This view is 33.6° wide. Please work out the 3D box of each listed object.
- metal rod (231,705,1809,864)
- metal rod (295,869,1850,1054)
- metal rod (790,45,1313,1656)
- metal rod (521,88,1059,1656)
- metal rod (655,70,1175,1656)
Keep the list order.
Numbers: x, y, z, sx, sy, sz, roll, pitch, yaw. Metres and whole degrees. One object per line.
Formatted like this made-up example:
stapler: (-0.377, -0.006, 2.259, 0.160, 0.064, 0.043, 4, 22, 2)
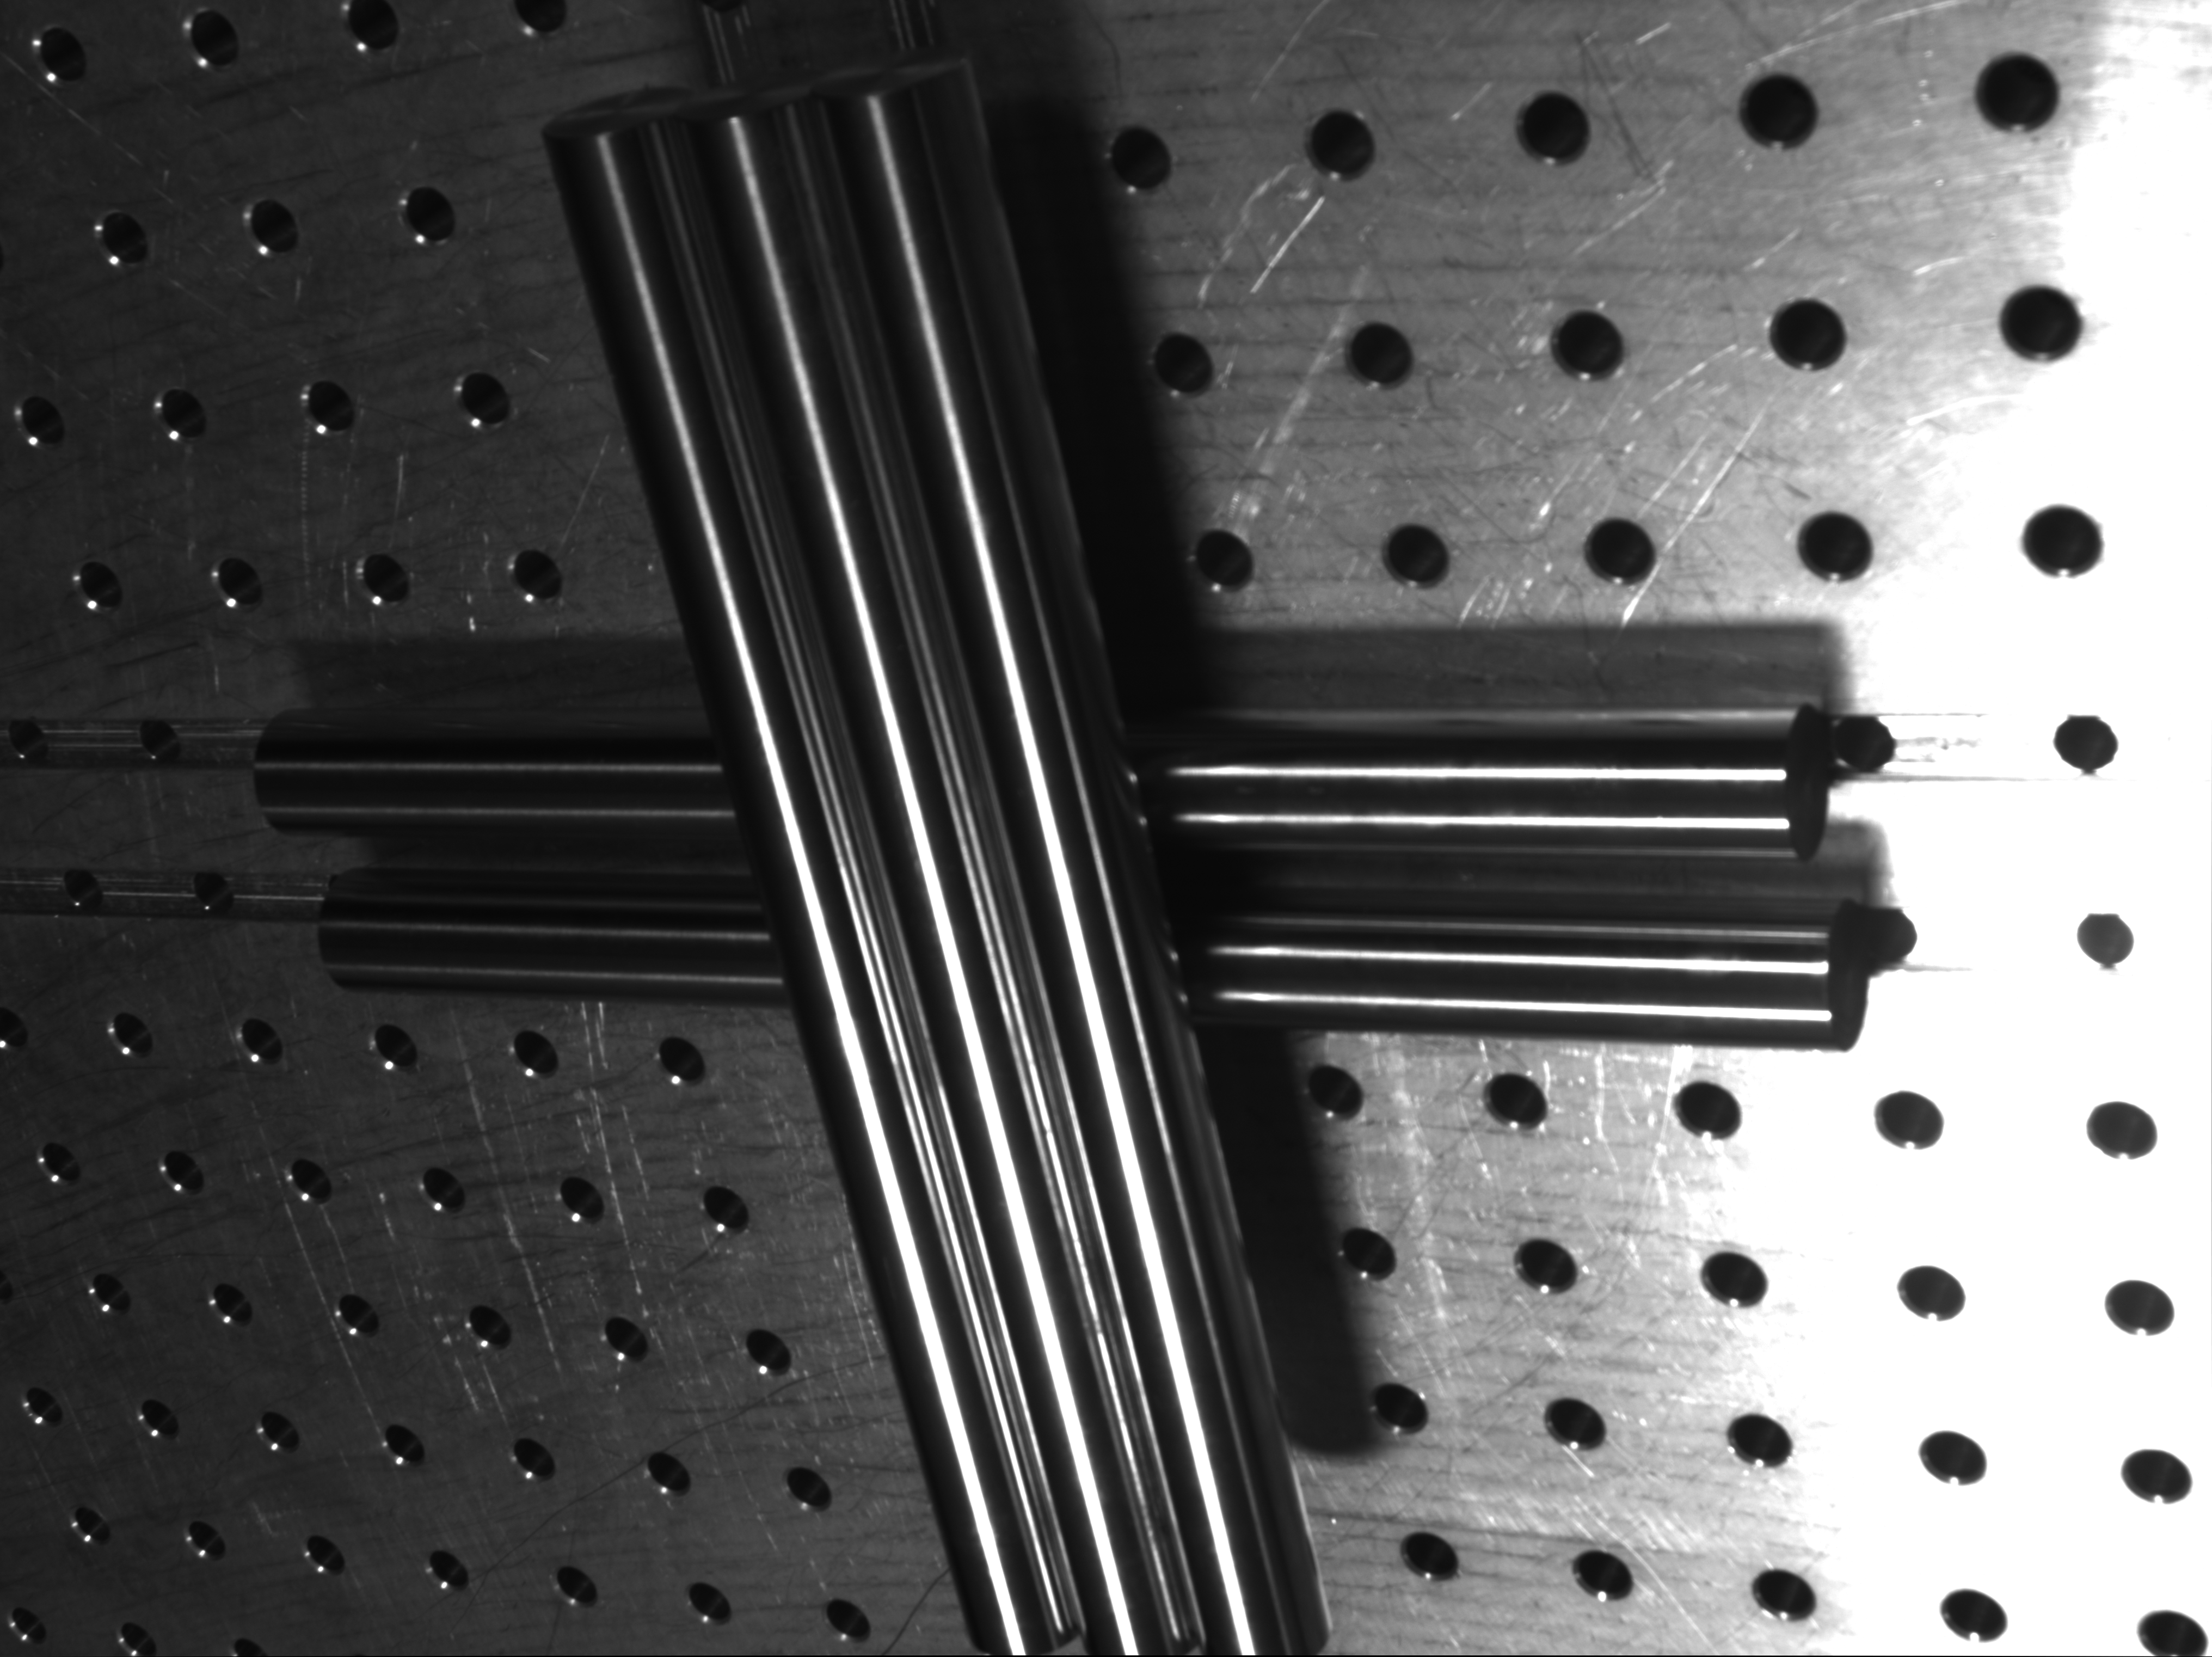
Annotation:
metal rod: (-0.027, -0.009, 0.643, 0.299, 0.025, 0.025, 1, 119, 26)
metal rod: (-0.018, 0.022, 0.656, 0.299, 0.025, 0.025, 1, 119, 26)
metal rod: (-0.005, 0.018, 0.616, 0.025, 0.025, 0.300, 0, 118, 26)
metal rod: (-0.049, 0.020, 0.639, 0.025, 0.025, 0.300, 0, 118, 26)
metal rod: (-0.027, 0.019, 0.628, 0.025, 0.025, 0.300, 0, 118, 26)
